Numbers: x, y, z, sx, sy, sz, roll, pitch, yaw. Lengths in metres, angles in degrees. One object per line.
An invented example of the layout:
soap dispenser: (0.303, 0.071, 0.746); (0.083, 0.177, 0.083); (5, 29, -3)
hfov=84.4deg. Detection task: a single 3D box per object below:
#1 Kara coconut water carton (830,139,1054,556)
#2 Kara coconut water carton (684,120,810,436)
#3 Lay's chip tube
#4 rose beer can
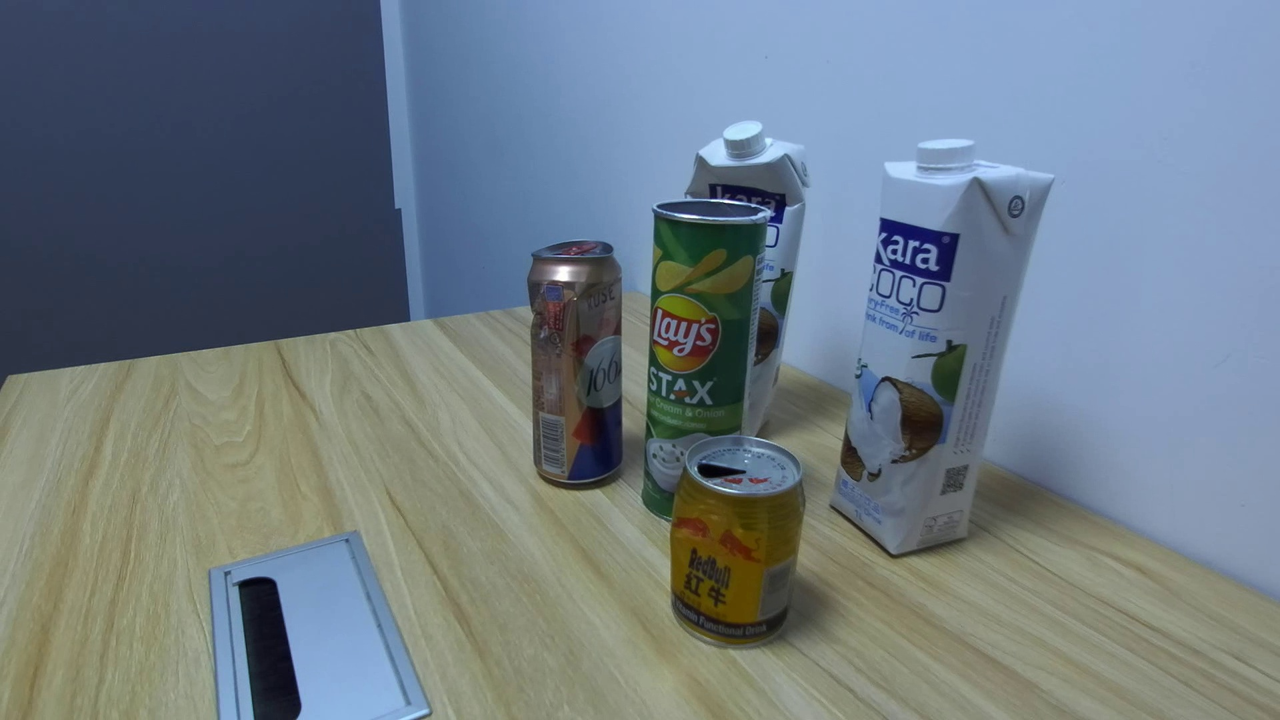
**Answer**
Kara coconut water carton: (0.176, -0.005, 0.431); (0.075, 0.245, 0.076); (-6, 22, -23)
Kara coconut water carton: (0.079, -0.060, 0.561); (0.099, 0.244, 0.071); (8, 19, 20)
Lay's chip tube: (0.038, 0.002, 0.452); (0.071, 0.202, 0.071); (2, 22, 0)
rose beer can: (-0.046, 0.004, 0.500); (0.065, 0.167, 0.076); (14, 26, 35)
